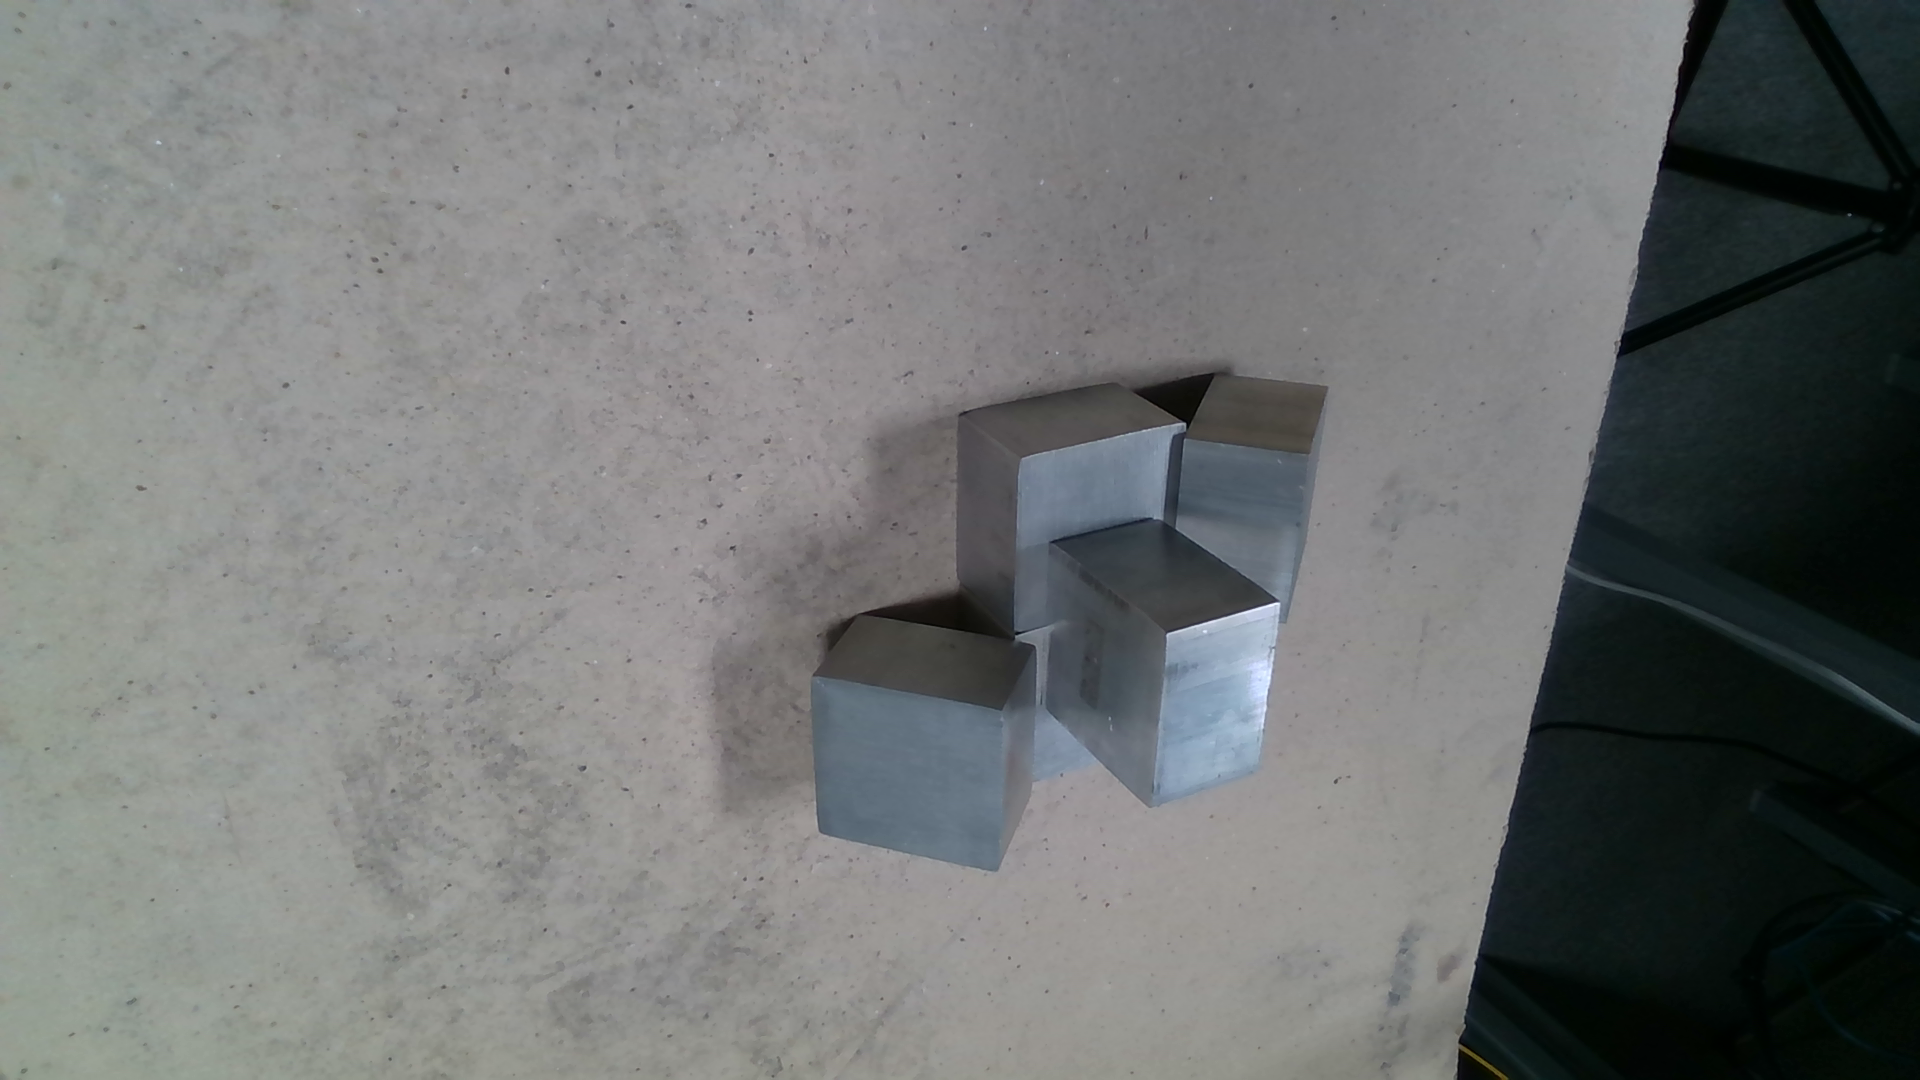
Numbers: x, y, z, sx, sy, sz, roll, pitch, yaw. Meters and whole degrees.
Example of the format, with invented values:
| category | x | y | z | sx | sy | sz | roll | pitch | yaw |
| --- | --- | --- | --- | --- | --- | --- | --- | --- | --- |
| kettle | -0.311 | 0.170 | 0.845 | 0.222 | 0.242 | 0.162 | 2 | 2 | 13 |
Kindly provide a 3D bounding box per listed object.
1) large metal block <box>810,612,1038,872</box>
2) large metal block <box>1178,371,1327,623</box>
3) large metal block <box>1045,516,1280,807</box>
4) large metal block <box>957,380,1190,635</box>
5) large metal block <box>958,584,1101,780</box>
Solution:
| category | x | y | z | sx | sy | sz | roll | pitch | yaw |
| --- | --- | --- | --- | --- | --- | --- | --- | --- | --- |
| large metal block | -0.014 | 0.083 | 0.573 | 0.050 | 0.080 | 0.080 | -56 | 151 | -57 |
| large metal block | 0.127 | -0.021 | 0.605 | 0.080 | 0.050 | 0.080 | -55 | 150 | -58 |
| large metal block | 0.078 | 0.046 | 0.554 | 0.050 | 0.080 | 0.080 | -13 | 121 | -25 |
| large metal block | 0.046 | -0.015 | 0.583 | 0.080 | 0.050 | 0.080 | -14 | 121 | -25 |
| large metal block | 0.046 | 0.056 | 0.621 | 0.080 | 0.050 | 0.080 | -14 | 121 | -25 |
